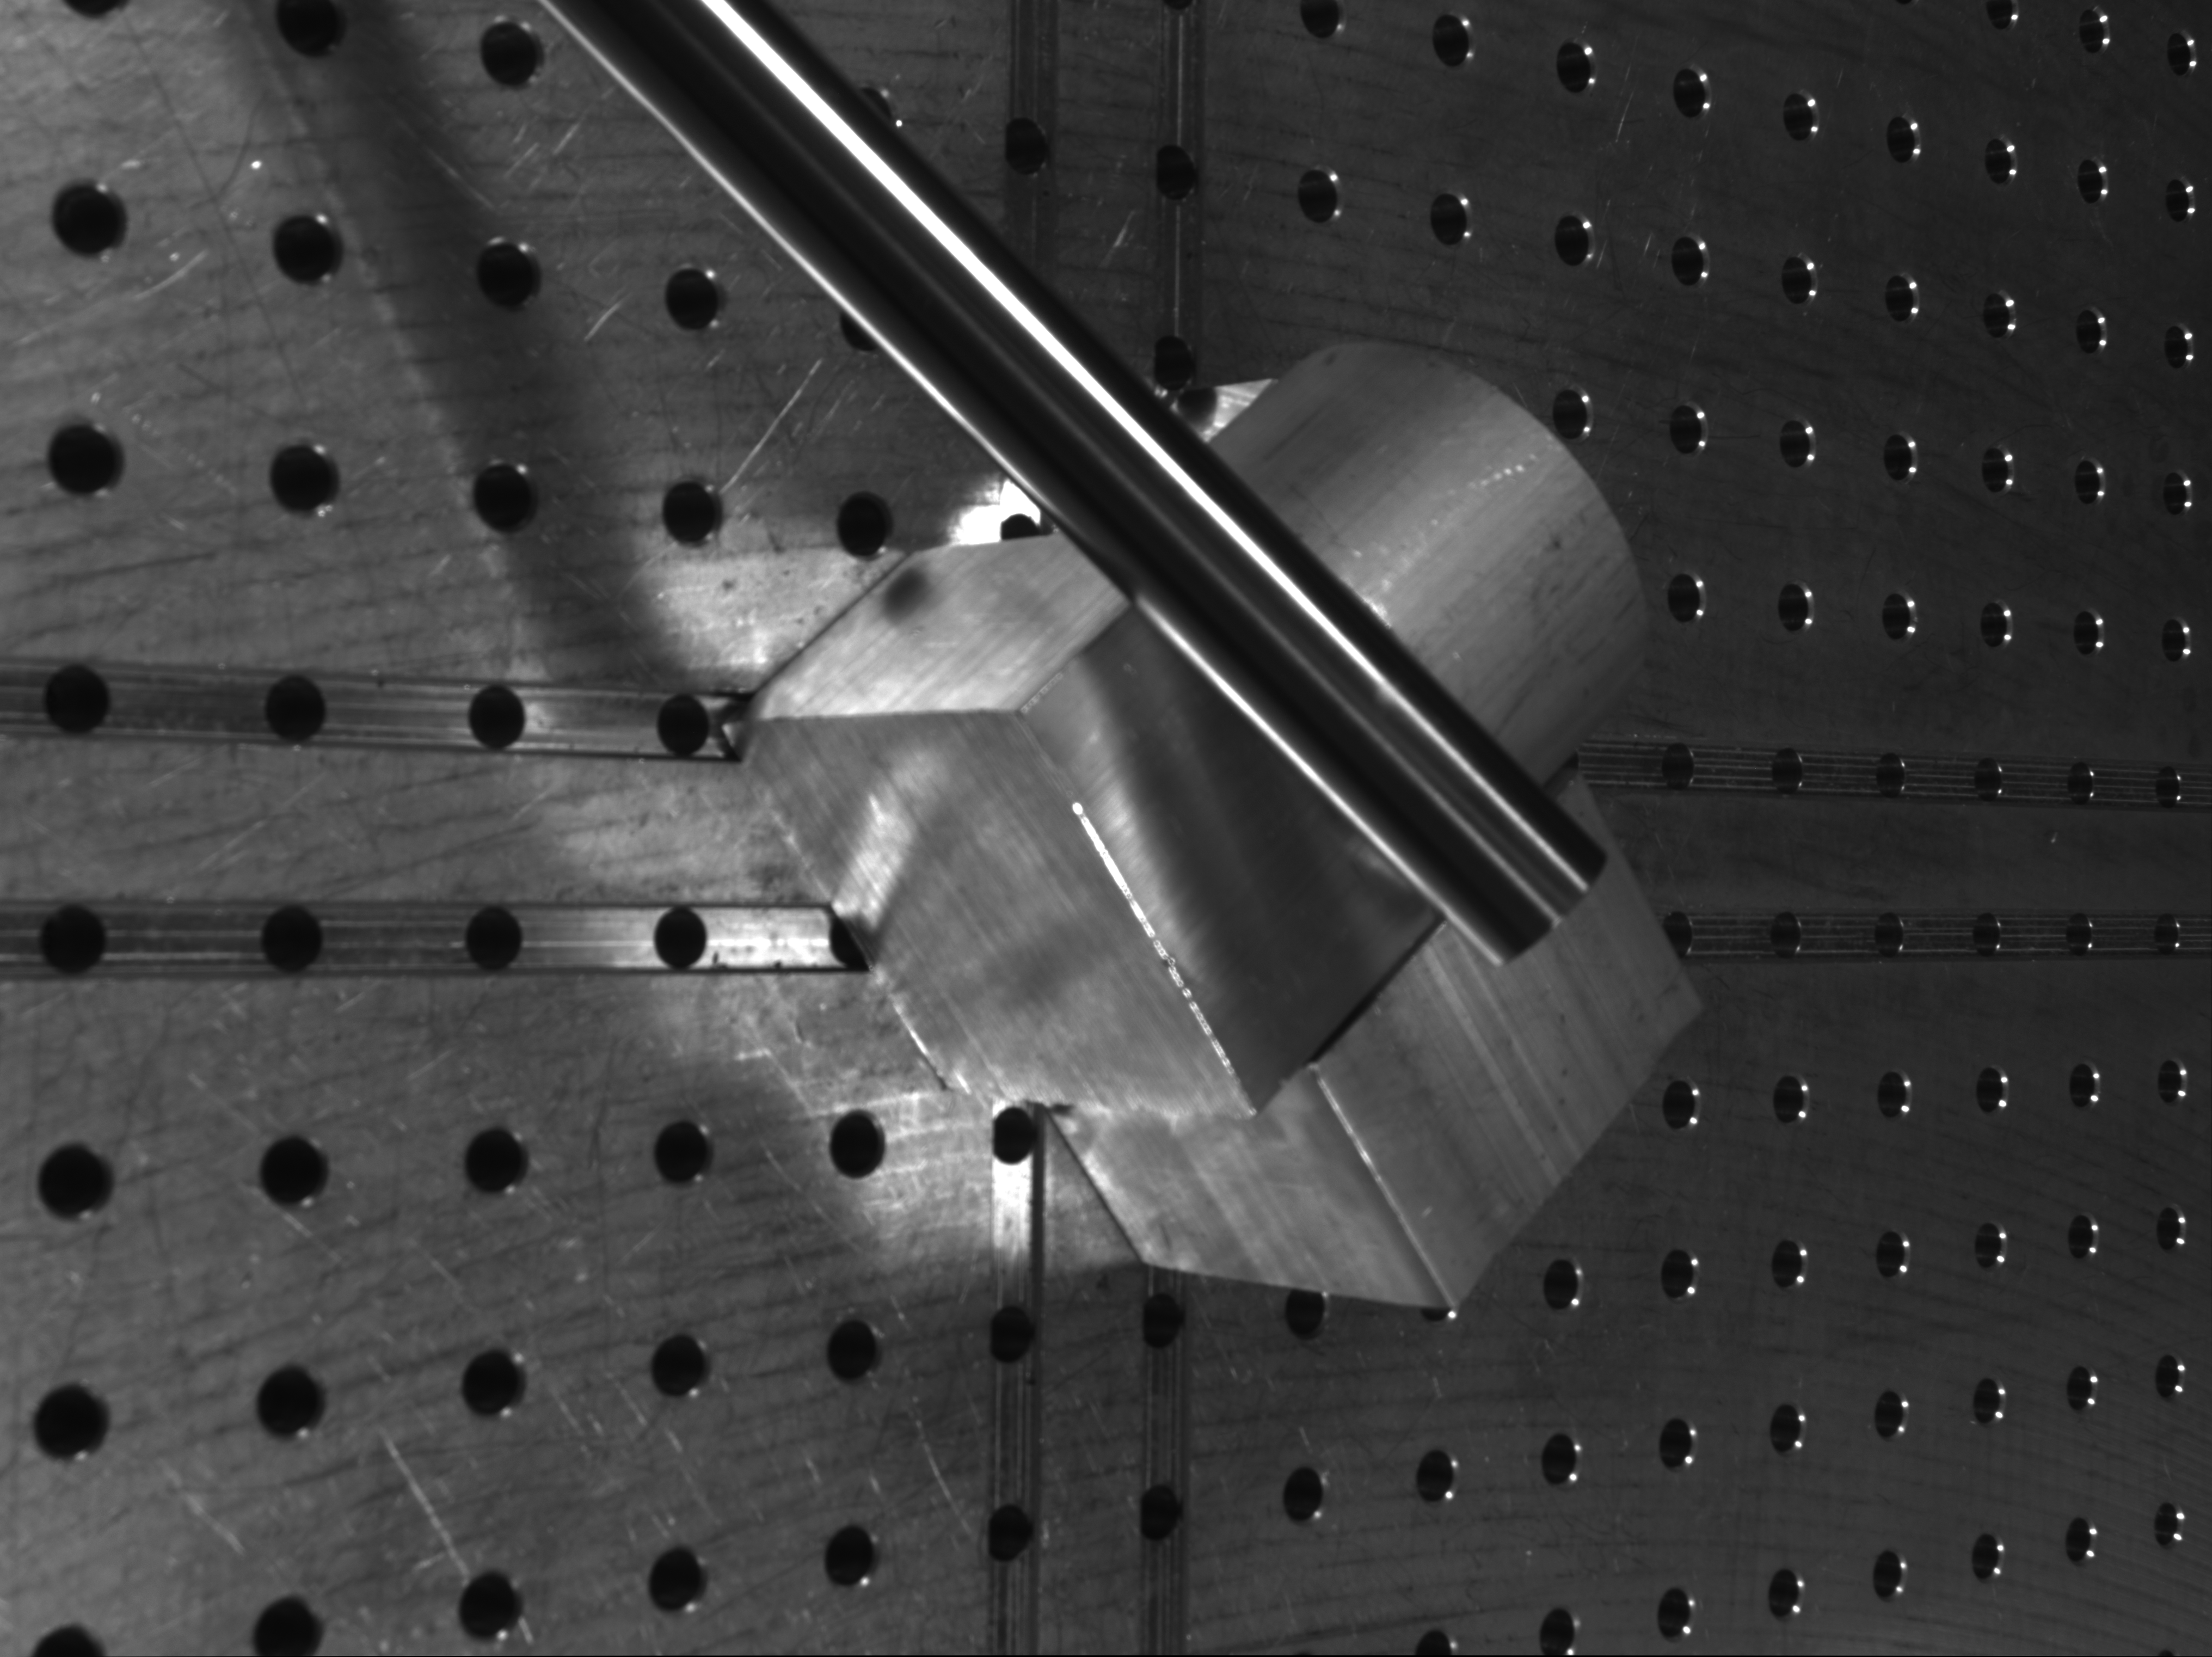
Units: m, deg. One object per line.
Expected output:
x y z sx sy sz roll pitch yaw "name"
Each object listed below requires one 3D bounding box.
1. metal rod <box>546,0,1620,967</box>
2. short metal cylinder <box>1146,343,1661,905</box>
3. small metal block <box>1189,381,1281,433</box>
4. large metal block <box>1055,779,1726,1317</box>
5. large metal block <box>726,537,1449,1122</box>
-0.036 -0.093 0.542 0.300 0.025 0.025 45 61 -6 "metal rod"
0.045 -0.033 0.609 0.050 0.080 0.080 -44 116 -31 "short metal cylinder"
0.022 -0.044 0.660 0.050 0.025 0.050 -49 119 -29 "small metal block"
0.047 0.036 0.641 0.080 0.080 0.050 -45 117 -31 "large metal block"
-0.003 -0.001 0.603 0.050 0.080 0.080 -45 117 -31 "large metal block"
